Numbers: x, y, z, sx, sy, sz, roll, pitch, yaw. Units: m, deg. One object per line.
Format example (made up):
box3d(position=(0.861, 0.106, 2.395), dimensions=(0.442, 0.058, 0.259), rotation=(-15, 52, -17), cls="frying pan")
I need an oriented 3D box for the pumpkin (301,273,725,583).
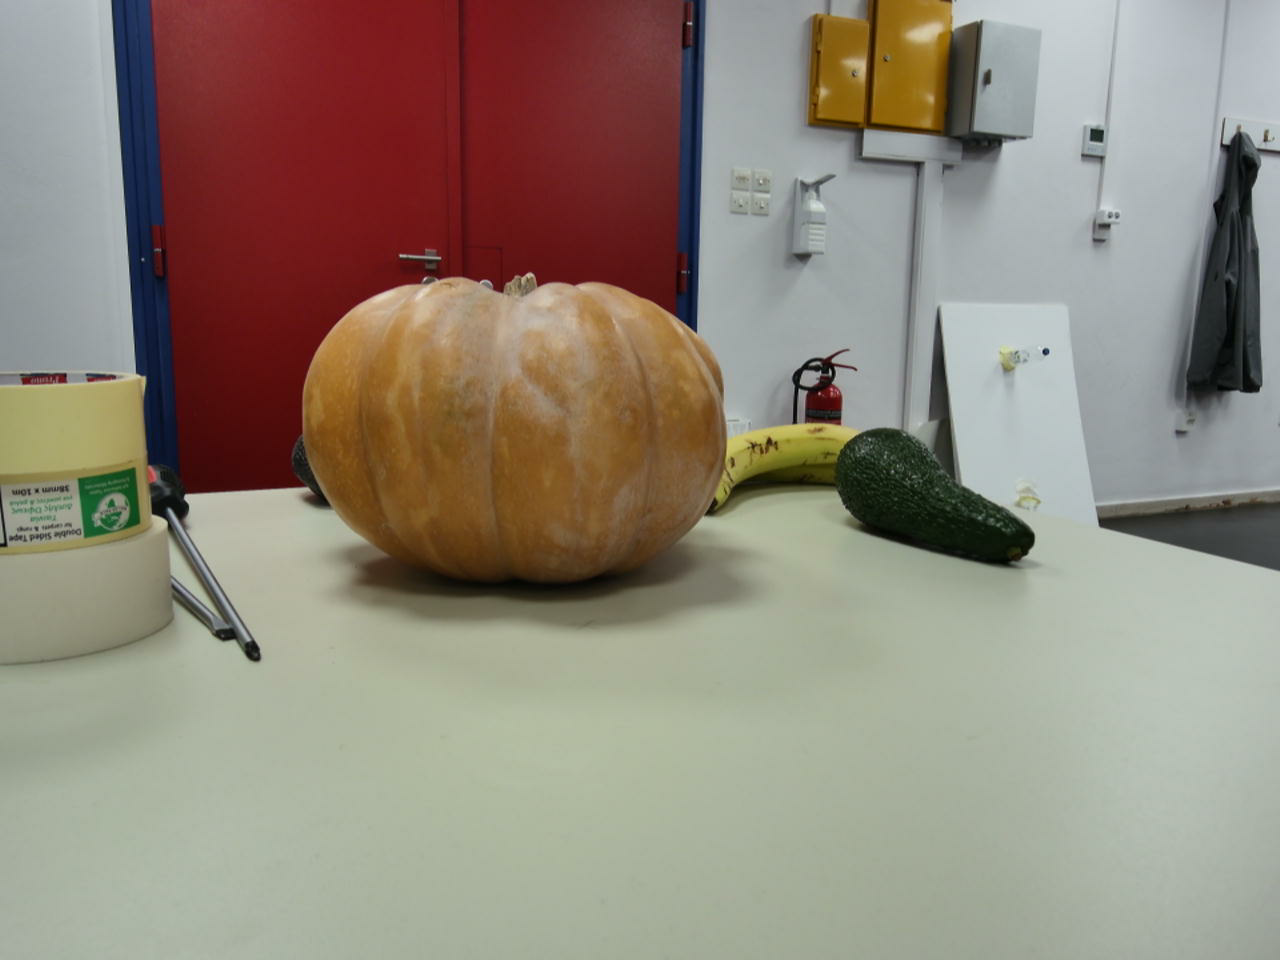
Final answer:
box3d(position=(-0.073, -0.035, 0.616), dimensions=(0.277, 0.181, 0.277), rotation=(1, 8, 0), cls="pumpkin")
